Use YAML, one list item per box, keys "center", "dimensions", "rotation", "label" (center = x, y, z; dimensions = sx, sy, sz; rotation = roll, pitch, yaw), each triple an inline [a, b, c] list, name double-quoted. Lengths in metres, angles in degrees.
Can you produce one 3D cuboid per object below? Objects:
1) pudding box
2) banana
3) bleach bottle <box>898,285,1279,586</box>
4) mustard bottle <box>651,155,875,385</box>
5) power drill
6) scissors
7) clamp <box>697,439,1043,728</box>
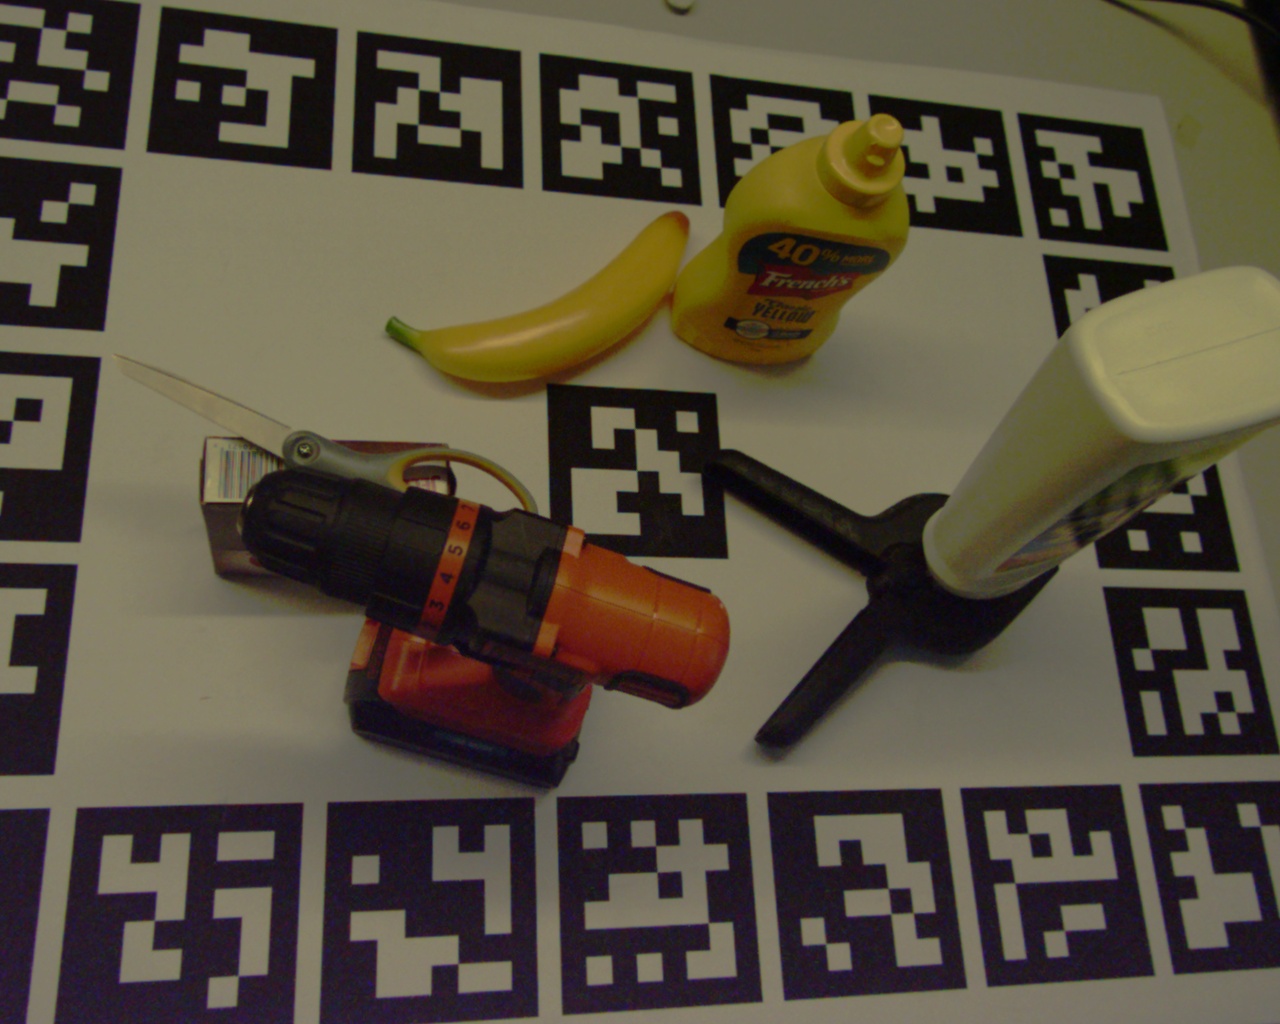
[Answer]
- center: [-0.162, 0.000, 0.585]
  dimensions: [0.113, 0.090, 0.039]
  rotation: [6, 64, -13]
  label: "pudding box"
- center: [-0.045, -0.134, 0.682]
  dimensions: [0.196, 0.039, 0.075]
  rotation: [-39, 67, -22]
  label: "banana"
- center: [0.200, -0.016, 0.578]
  dimensions: [0.102, 0.251, 0.068]
  rotation: [-18, 73, -12]
  label: "bleach bottle"
- center: [0.077, -0.137, 0.642]
  dimensions: [0.096, 0.192, 0.058]
  rotation: [16, 68, -10]
  label: "mustard bottle"
- center: [-0.082, 0.057, 0.501]
  dimensions: [0.184, 0.187, 0.057]
  rotation: [14, 62, -6]
  label: "power drill"
- center: [-0.155, -0.028, 0.526]
  dimensions: [0.202, 0.016, 0.087]
  rotation: [27, 71, -9]
  label: "scissors"
- center: [0.141, 0.031, 0.662]
  dimensions: [0.201, 0.037, 0.166]
  rotation: [-4, 75, -17]
  label: "clamp"
